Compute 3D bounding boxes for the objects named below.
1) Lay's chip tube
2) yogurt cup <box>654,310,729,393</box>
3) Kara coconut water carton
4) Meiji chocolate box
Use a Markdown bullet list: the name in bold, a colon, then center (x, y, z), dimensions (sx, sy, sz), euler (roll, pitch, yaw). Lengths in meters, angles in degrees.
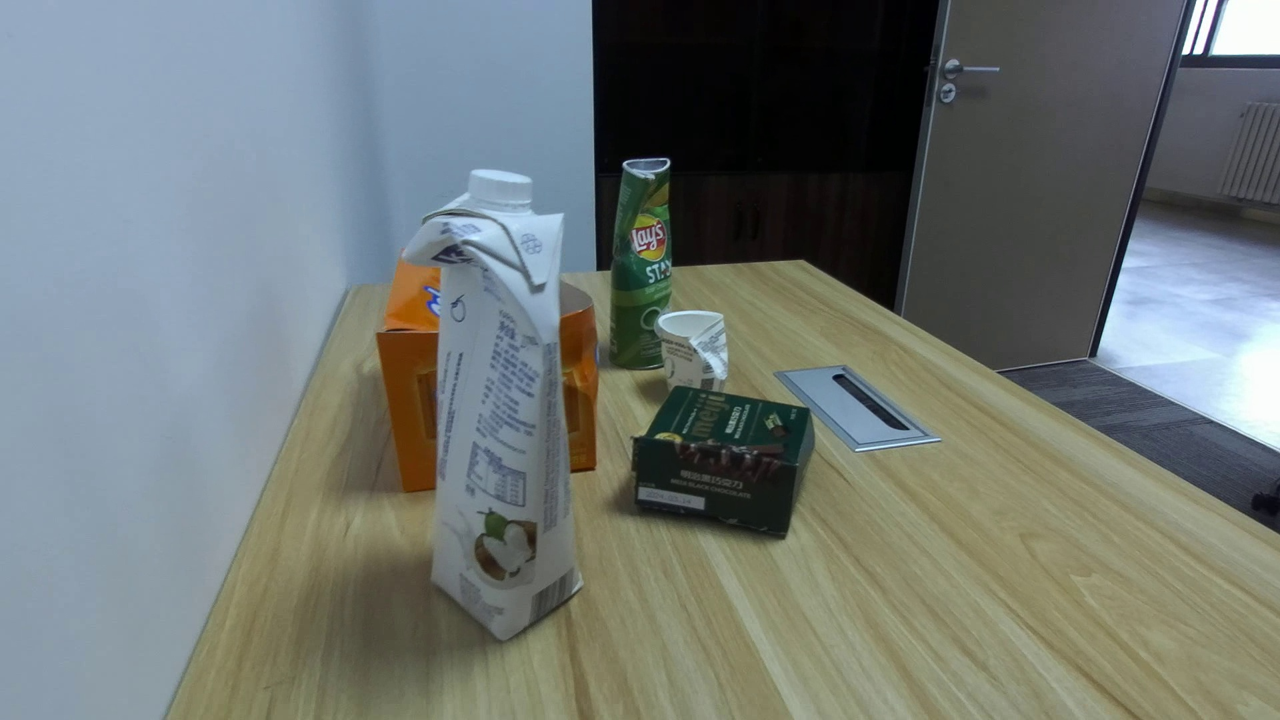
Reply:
- **Lay's chip tube**: center (0.002, -0.094, 0.701), dimensions (0.069, 0.201, 0.077), euler (-5, 26, -11)
- **yogurt cup**: center (0.049, -0.002, 0.648), dimensions (0.067, 0.070, 0.067), euler (-1, 24, 1)
- **Kara coconut water carton**: center (-0.075, 0.025, 0.371), dimensions (0.114, 0.238, 0.069), euler (19, 28, 39)
- **Meiji chocolate box**: center (0.062, 0.069, 0.511), dimensions (0.122, 0.058, 0.116), euler (7, 20, 15)
